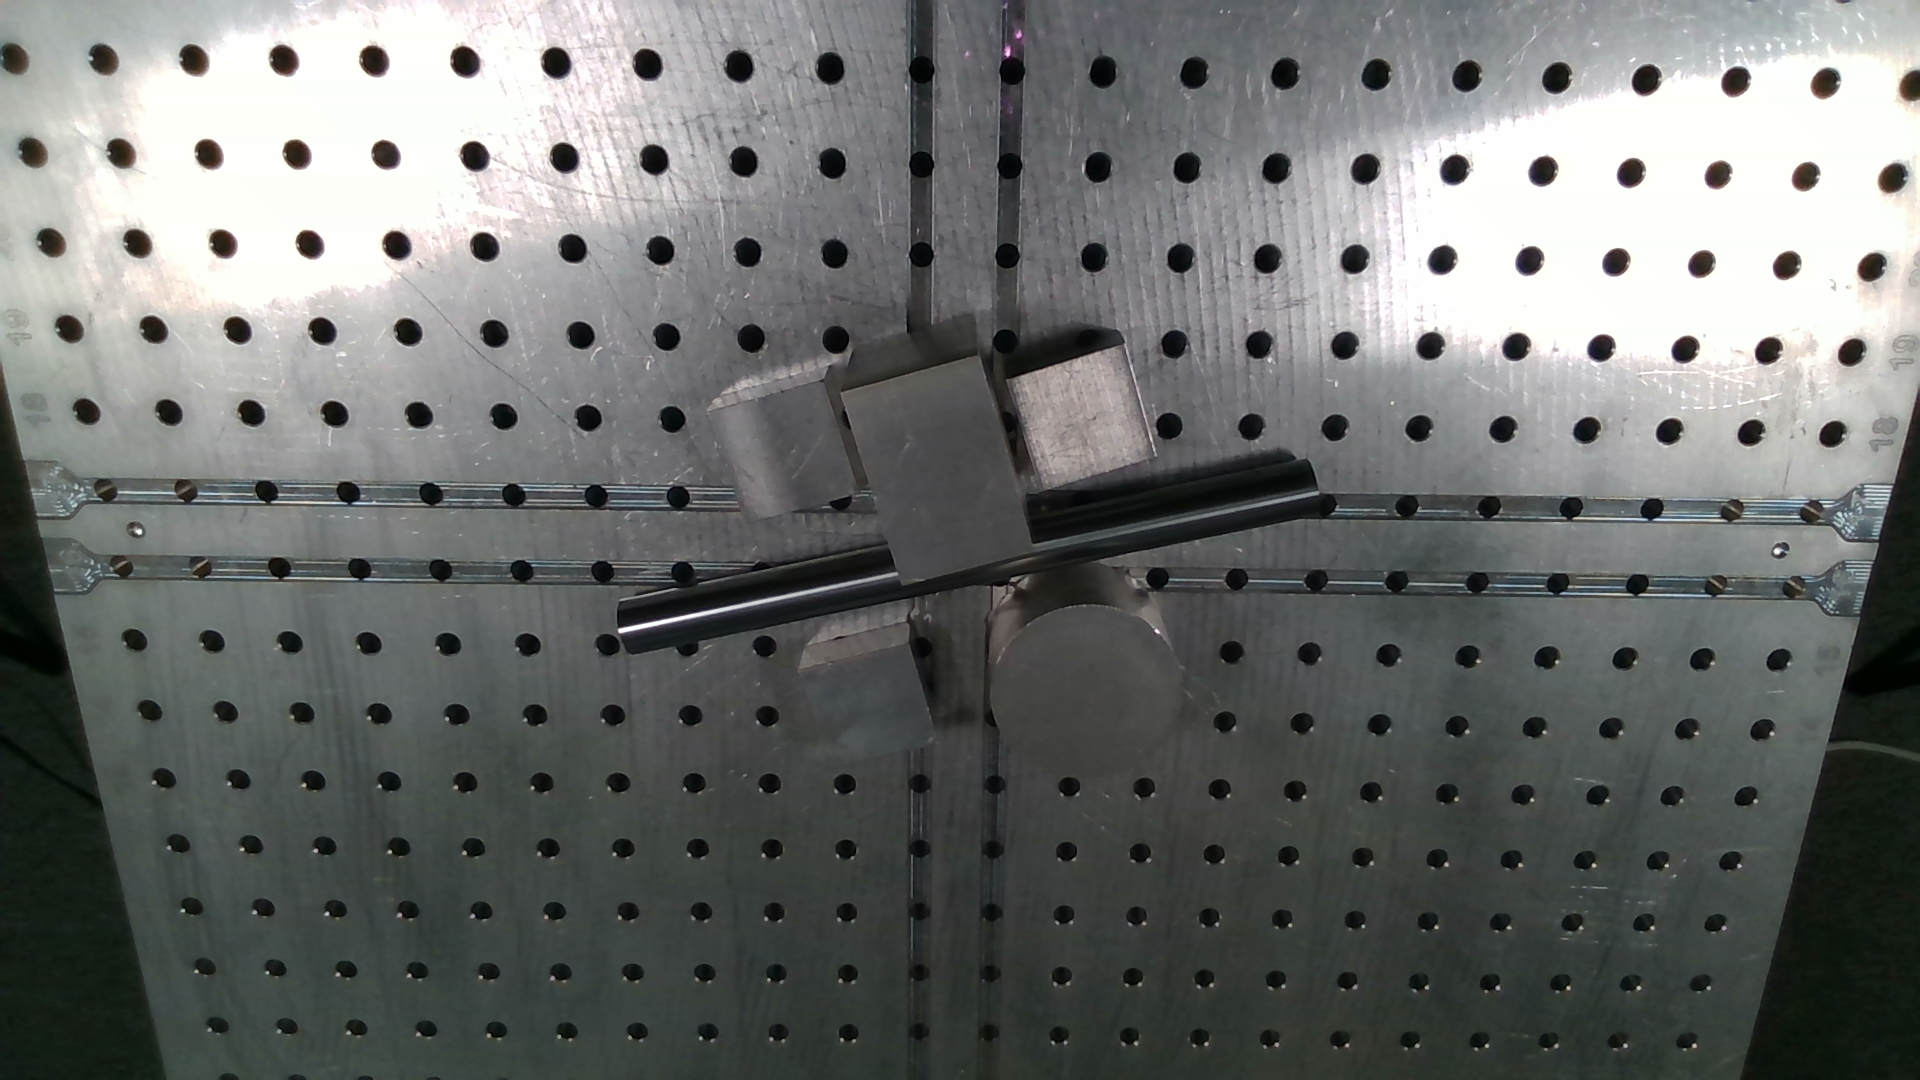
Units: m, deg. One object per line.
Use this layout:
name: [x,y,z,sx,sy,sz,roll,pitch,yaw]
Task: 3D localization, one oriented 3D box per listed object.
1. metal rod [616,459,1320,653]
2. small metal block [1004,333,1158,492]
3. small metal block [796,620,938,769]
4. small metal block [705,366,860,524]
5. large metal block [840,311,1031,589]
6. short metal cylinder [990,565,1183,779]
metal rod: [0.001,0.008,0.590,0.300,0.025,0.025,-12,110,4]
small metal block: [0.049,-0.054,0.567,0.050,0.025,0.050,-16,109,6]
small metal block: [-0.040,0.069,0.612,0.050,0.025,0.050,-14,110,5]
small metal block: [-0.072,-0.040,0.572,0.050,0.025,0.050,-15,110,5]
large metal block: [-0.008,-0.038,0.542,0.050,0.080,0.080,-15,109,5]
short metal cylinder: [0.053,0.055,0.594,0.080,0.050,0.080,0,110,0]
